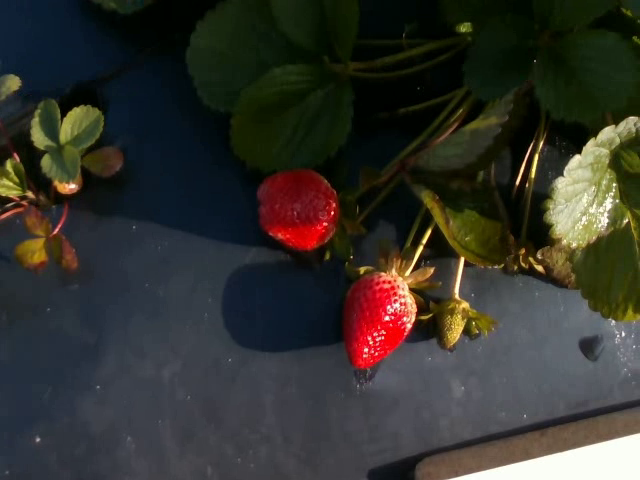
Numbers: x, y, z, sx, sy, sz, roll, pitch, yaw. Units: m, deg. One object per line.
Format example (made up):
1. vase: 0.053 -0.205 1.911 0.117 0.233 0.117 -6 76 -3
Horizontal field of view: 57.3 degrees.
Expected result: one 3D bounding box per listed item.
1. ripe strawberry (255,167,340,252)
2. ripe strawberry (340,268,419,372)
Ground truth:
1. ripe strawberry: -0.011 -0.015 0.304 0.054 0.048 0.039 0 15 -31
2. ripe strawberry: 0.028 0.040 0.286 0.043 0.053 0.038 33 -32 -13
